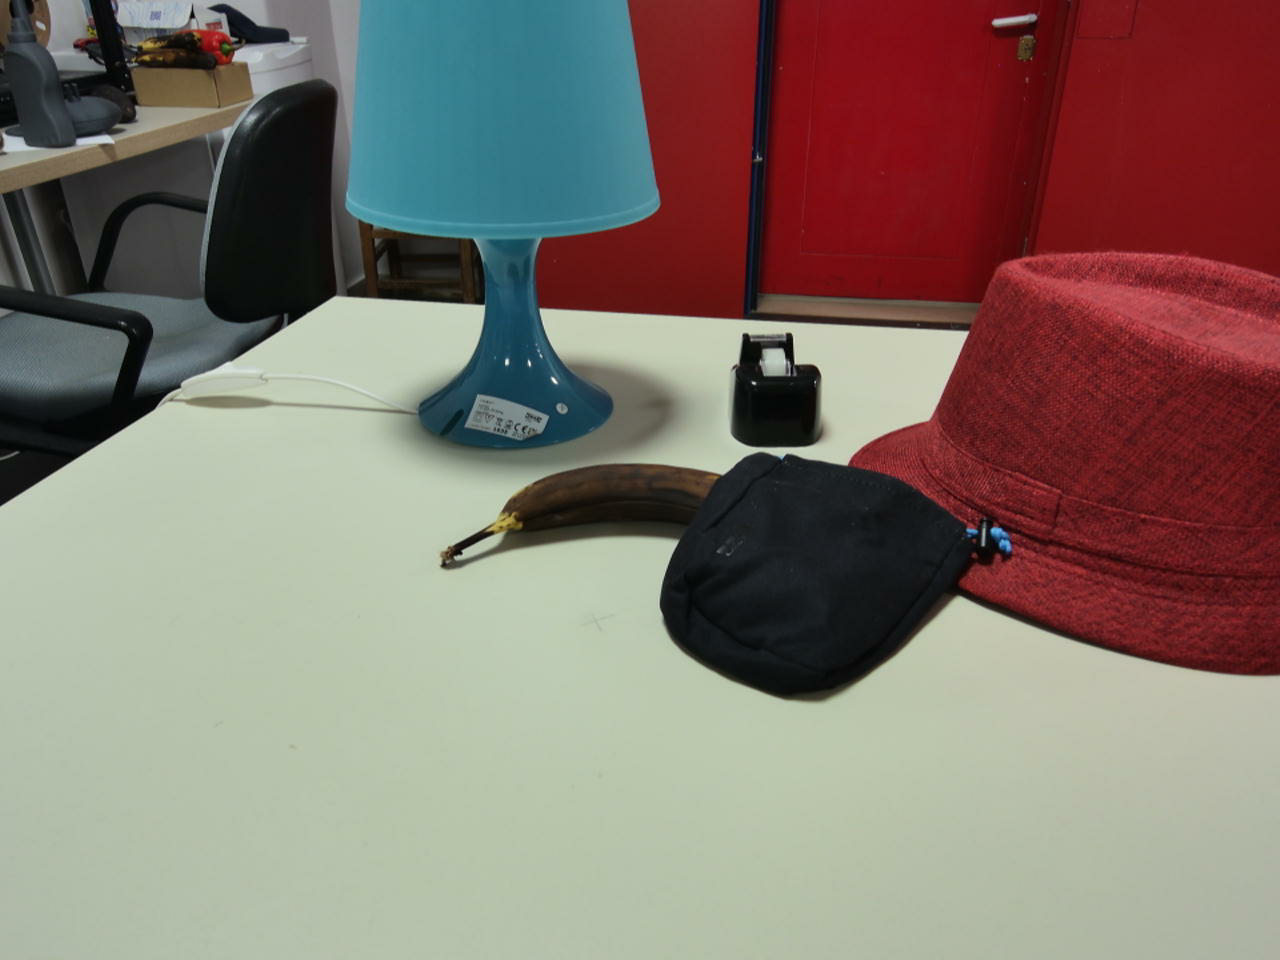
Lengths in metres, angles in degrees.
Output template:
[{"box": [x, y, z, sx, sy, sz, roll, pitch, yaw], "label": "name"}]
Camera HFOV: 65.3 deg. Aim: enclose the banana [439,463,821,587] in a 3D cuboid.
[{"box": [0.000, 0.019, 0.516, 0.188, 0.034, 0.091, 5, 26, 12], "label": "banana"}]
